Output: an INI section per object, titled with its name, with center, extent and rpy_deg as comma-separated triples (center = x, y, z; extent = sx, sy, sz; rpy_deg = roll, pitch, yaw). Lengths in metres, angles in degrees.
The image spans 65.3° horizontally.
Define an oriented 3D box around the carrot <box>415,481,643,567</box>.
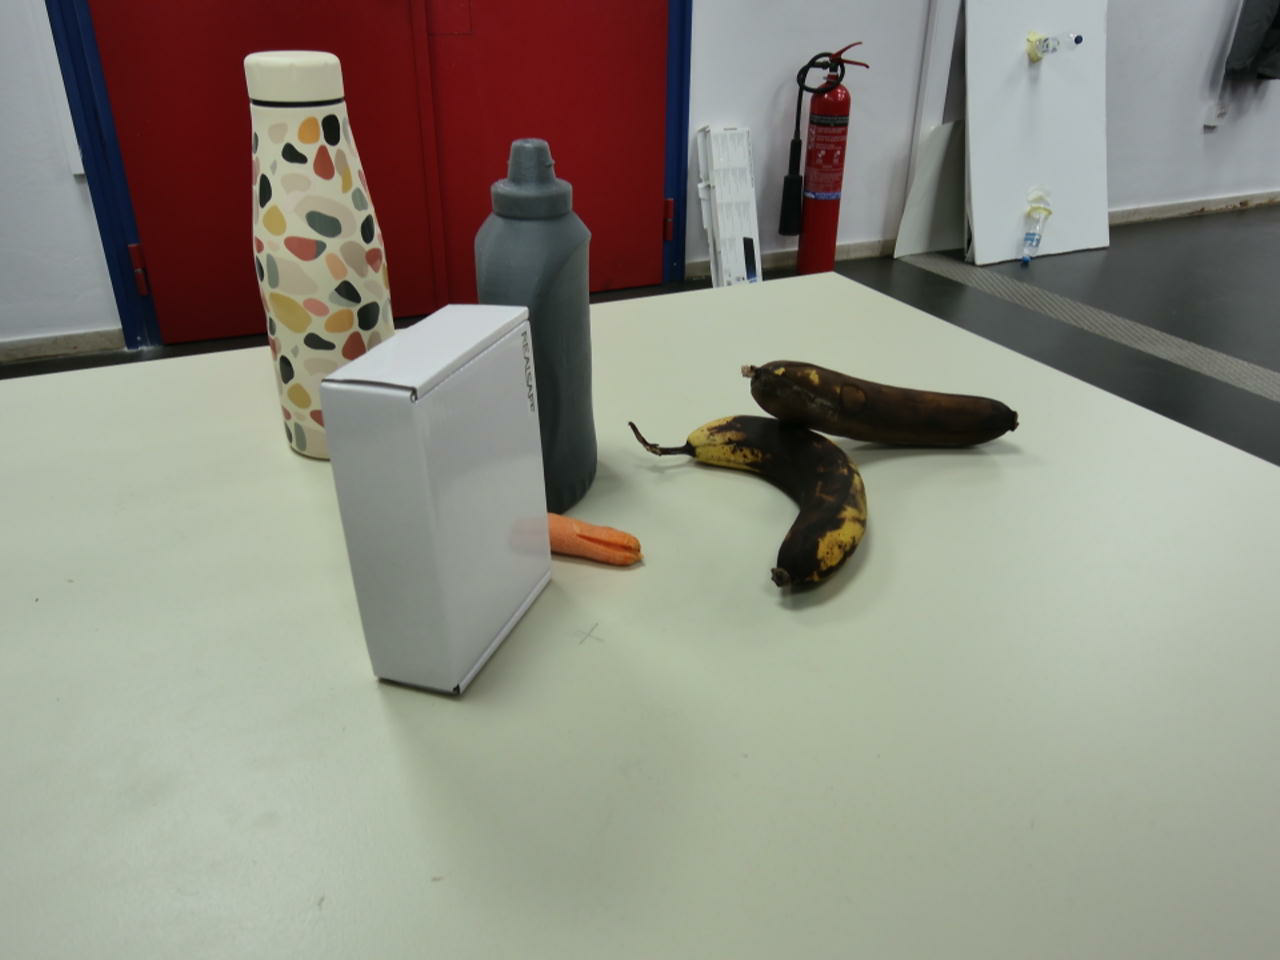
[carrot]
center = -0.063, 0.023, 0.552
extent = 0.136, 0.032, 0.030
rpy_deg = 9, 27, 18
